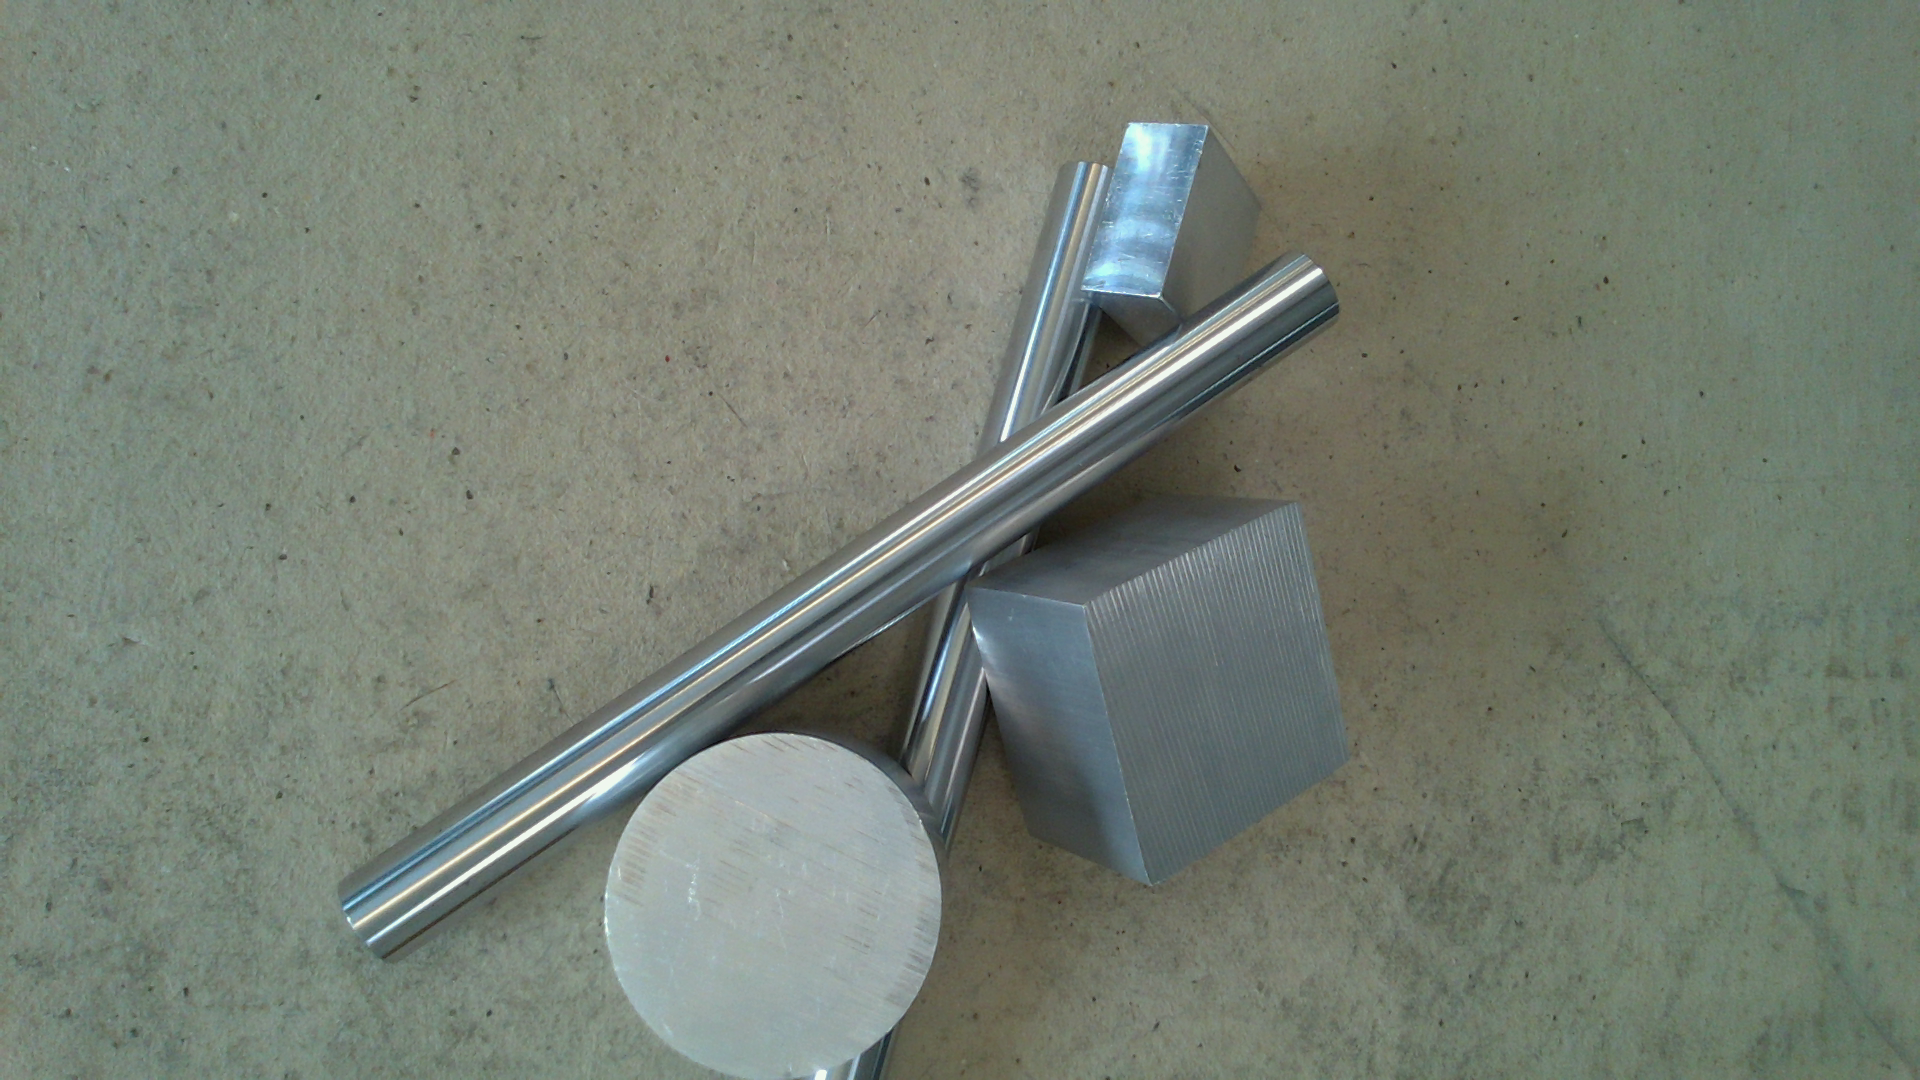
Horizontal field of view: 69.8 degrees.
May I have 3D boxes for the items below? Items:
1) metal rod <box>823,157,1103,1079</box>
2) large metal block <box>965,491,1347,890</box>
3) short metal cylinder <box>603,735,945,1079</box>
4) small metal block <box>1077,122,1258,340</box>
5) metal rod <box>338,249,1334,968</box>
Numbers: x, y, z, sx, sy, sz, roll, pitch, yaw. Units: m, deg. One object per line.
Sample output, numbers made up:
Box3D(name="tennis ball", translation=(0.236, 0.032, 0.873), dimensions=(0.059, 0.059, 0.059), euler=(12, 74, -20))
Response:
Box3D(name="metal rod", translation=(0.000, 0.036, 0.393), dimensions=(0.025, 0.025, 0.300), euler=(18, 84, -19))
Box3D(name="large metal block", translation=(0.056, 0.037, 0.385), dimensions=(0.080, 0.050, 0.080), euler=(-23, 107, -31))
Box3D(name="short metal cylinder", translation=(-0.044, 0.089, 0.351), dimensions=(0.080, 0.050, 0.080), euler=(0, 84, 0))
Box3D(name="small metal block", translation=(0.062, -0.087, 0.403), dimensions=(0.050, 0.025, 0.050), euler=(25, 79, -58))
Box3D(name="metal rod", translation=(-0.024, 0.012, 0.366), dimensions=(0.300, 0.025, 0.025), euler=(-34, 101, -10))
